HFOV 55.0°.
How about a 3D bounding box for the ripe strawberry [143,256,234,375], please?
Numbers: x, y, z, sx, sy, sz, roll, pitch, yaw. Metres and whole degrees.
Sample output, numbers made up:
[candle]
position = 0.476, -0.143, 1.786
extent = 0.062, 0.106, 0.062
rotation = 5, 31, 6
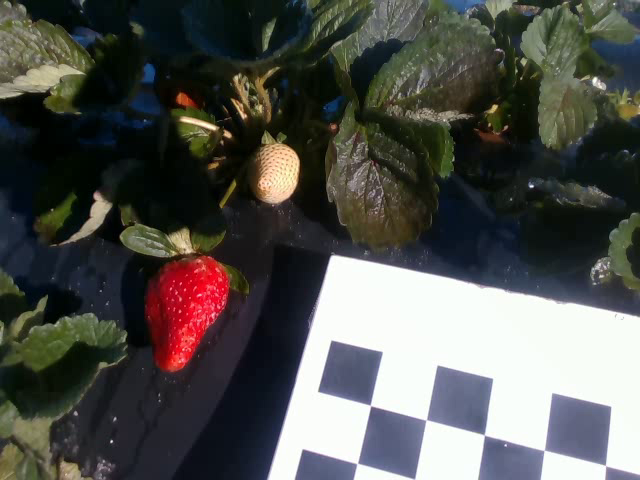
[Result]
[ripe strawberry]
position = -0.066, 0.036, 0.293
extent = 0.048, 0.069, 0.040
rotation = -6, -31, 5
